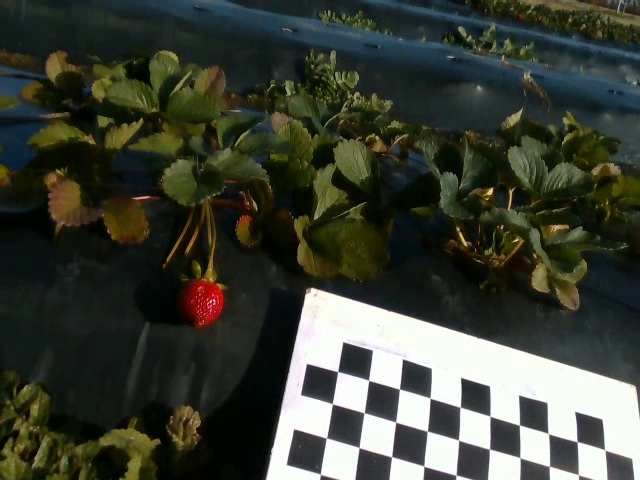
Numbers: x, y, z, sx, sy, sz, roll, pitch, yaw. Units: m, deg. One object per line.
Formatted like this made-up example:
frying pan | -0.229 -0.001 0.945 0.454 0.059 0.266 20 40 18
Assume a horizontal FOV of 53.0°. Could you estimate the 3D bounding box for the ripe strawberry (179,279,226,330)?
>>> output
ripe strawberry | -0.086 0.050 0.456 0.040 0.044 0.037 -1 -43 -17
